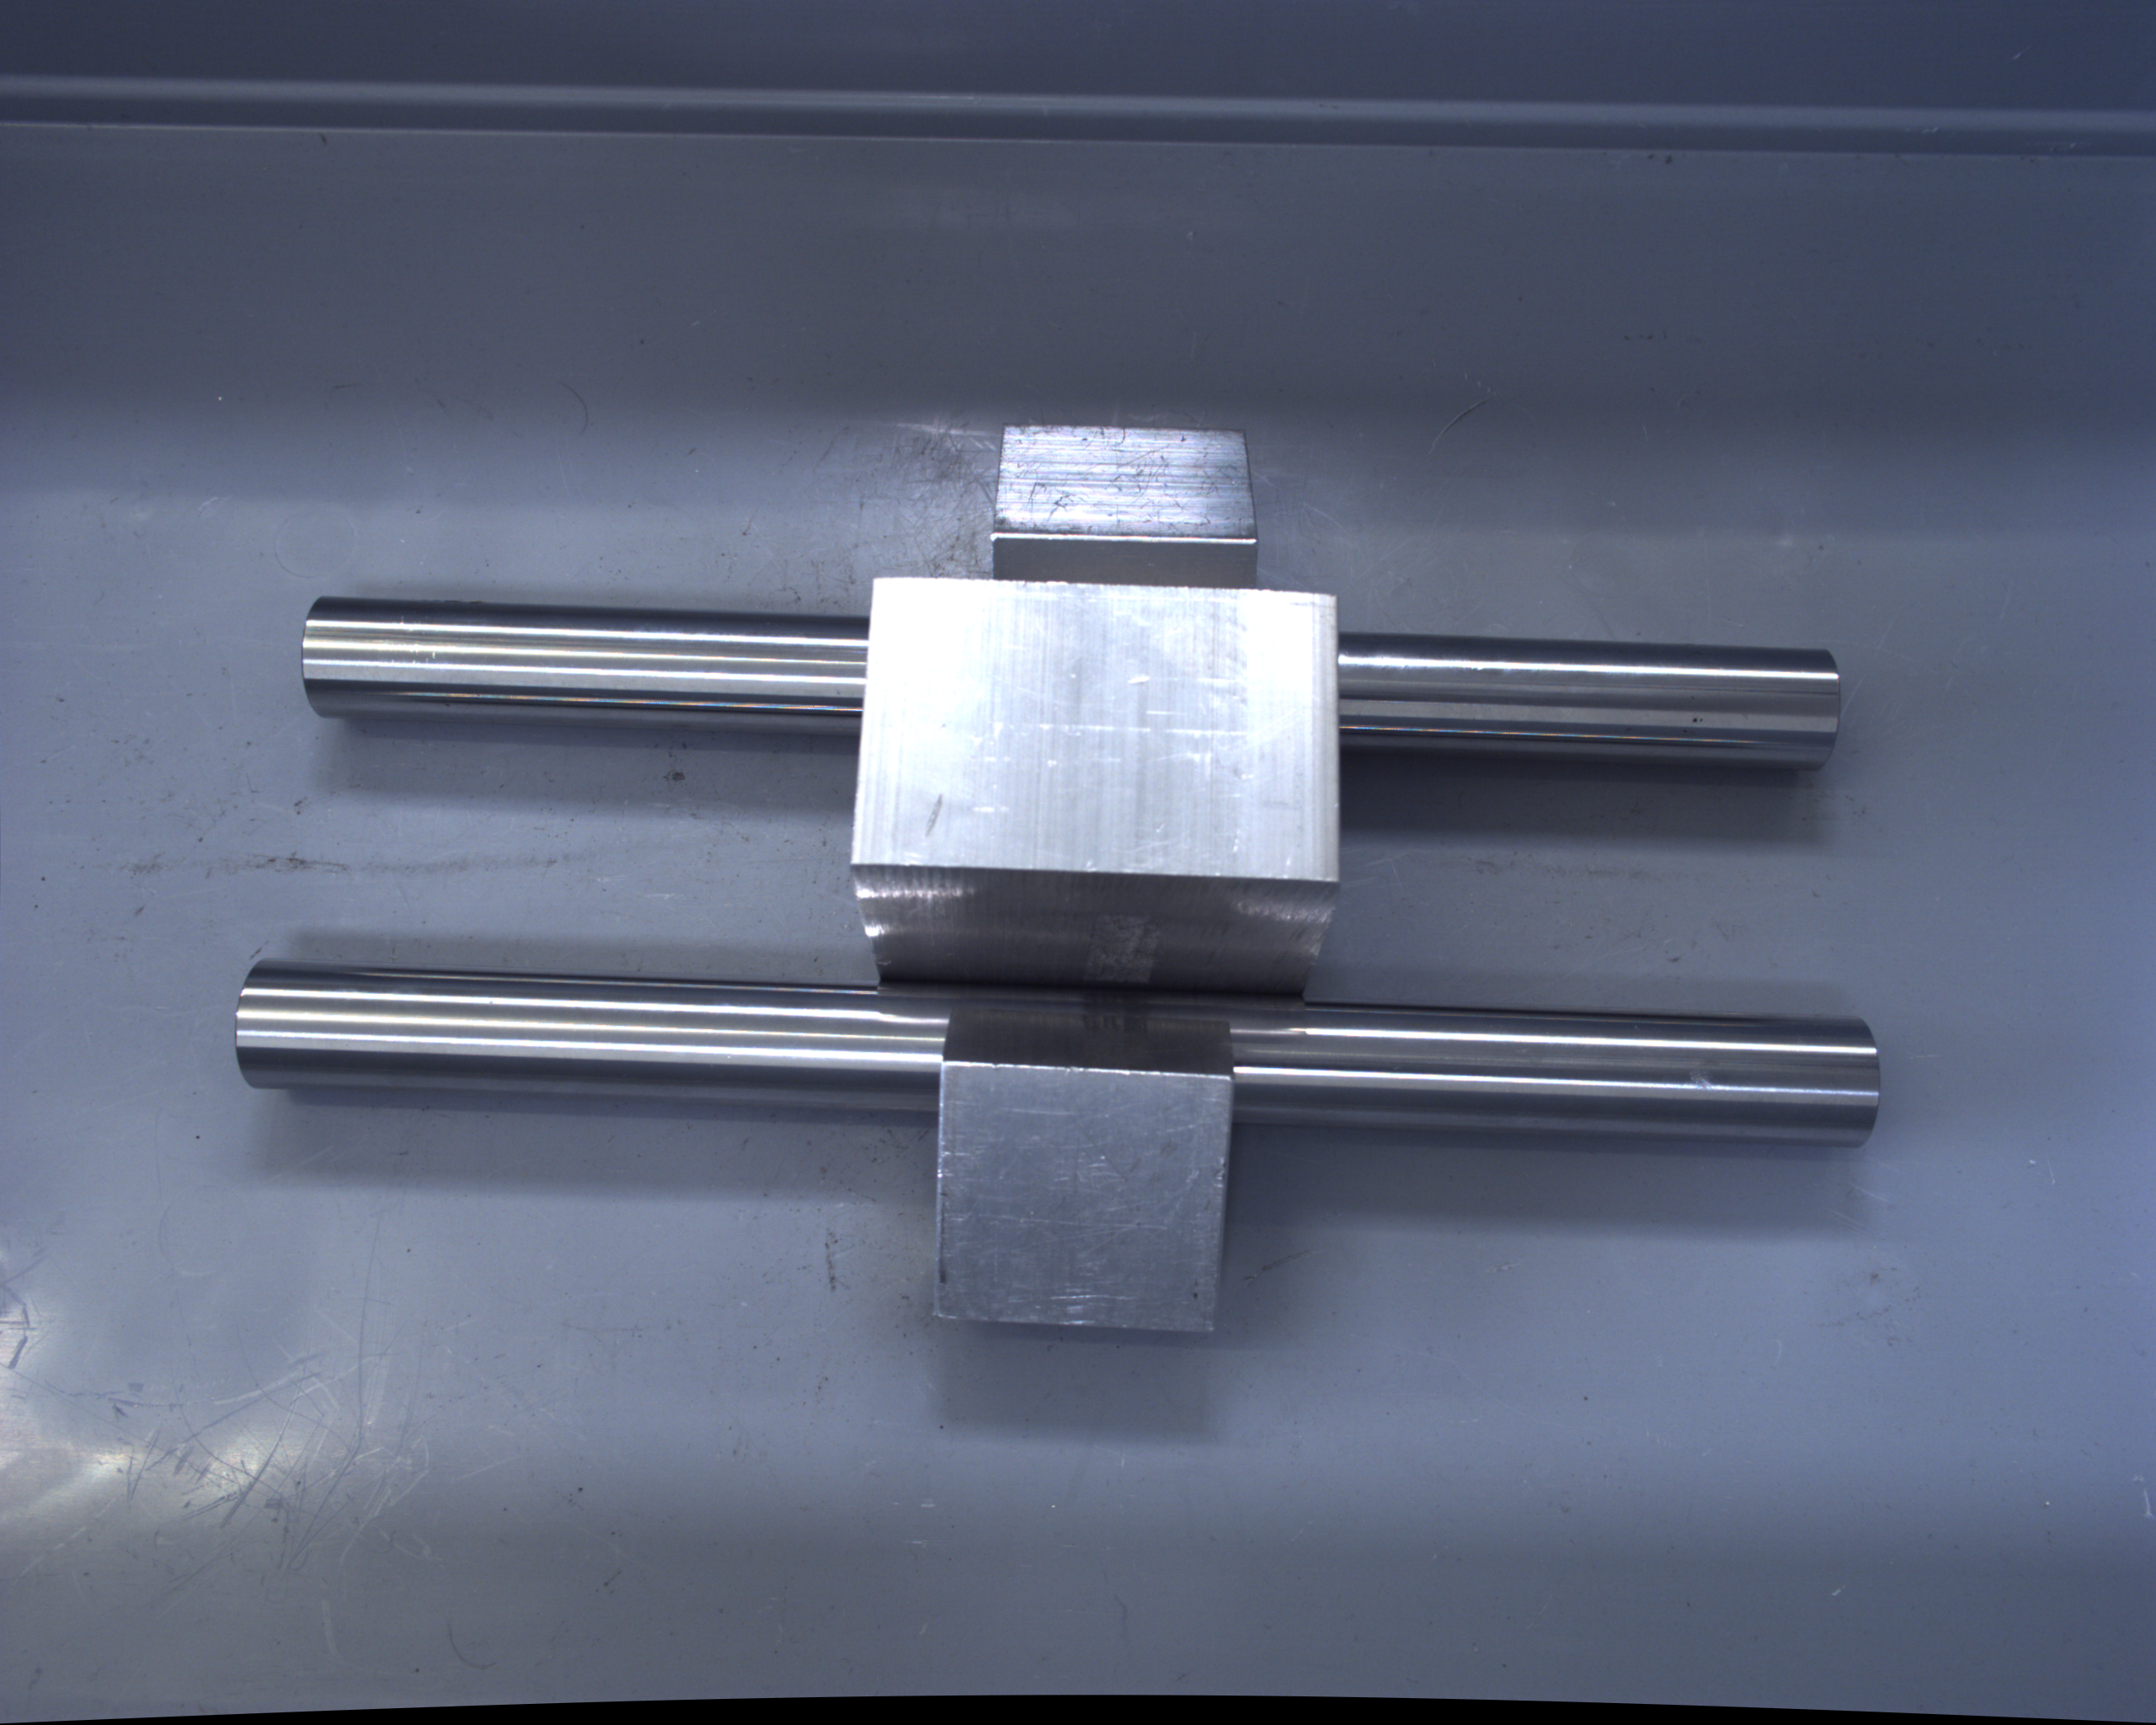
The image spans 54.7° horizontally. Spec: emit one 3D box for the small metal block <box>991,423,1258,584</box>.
[{"bbox_3d":[0.009,-0.066,0.420,0.050,0.025,0.050,1,36,0],"label":"small metal block"}]

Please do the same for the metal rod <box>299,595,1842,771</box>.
[{"bbox_3d":[-0.002,-0.036,0.420,0.302,0.025,0.025,2,70,0],"label":"metal rod"}]

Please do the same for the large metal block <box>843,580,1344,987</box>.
[{"bbox_3d":[0.003,-0.010,0.381,0.081,0.080,0.050,2,70,0],"label":"large metal block"}]

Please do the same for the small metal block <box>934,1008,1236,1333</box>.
[{"bbox_3d":[0.001,0.055,0.375,0.050,0.025,0.050,3,108,0],"label":"small metal block"}]

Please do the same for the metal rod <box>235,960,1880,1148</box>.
[{"bbox_3d":[-0.004,0.036,0.395,0.302,0.025,0.025,2,70,0],"label":"metal rod"}]
